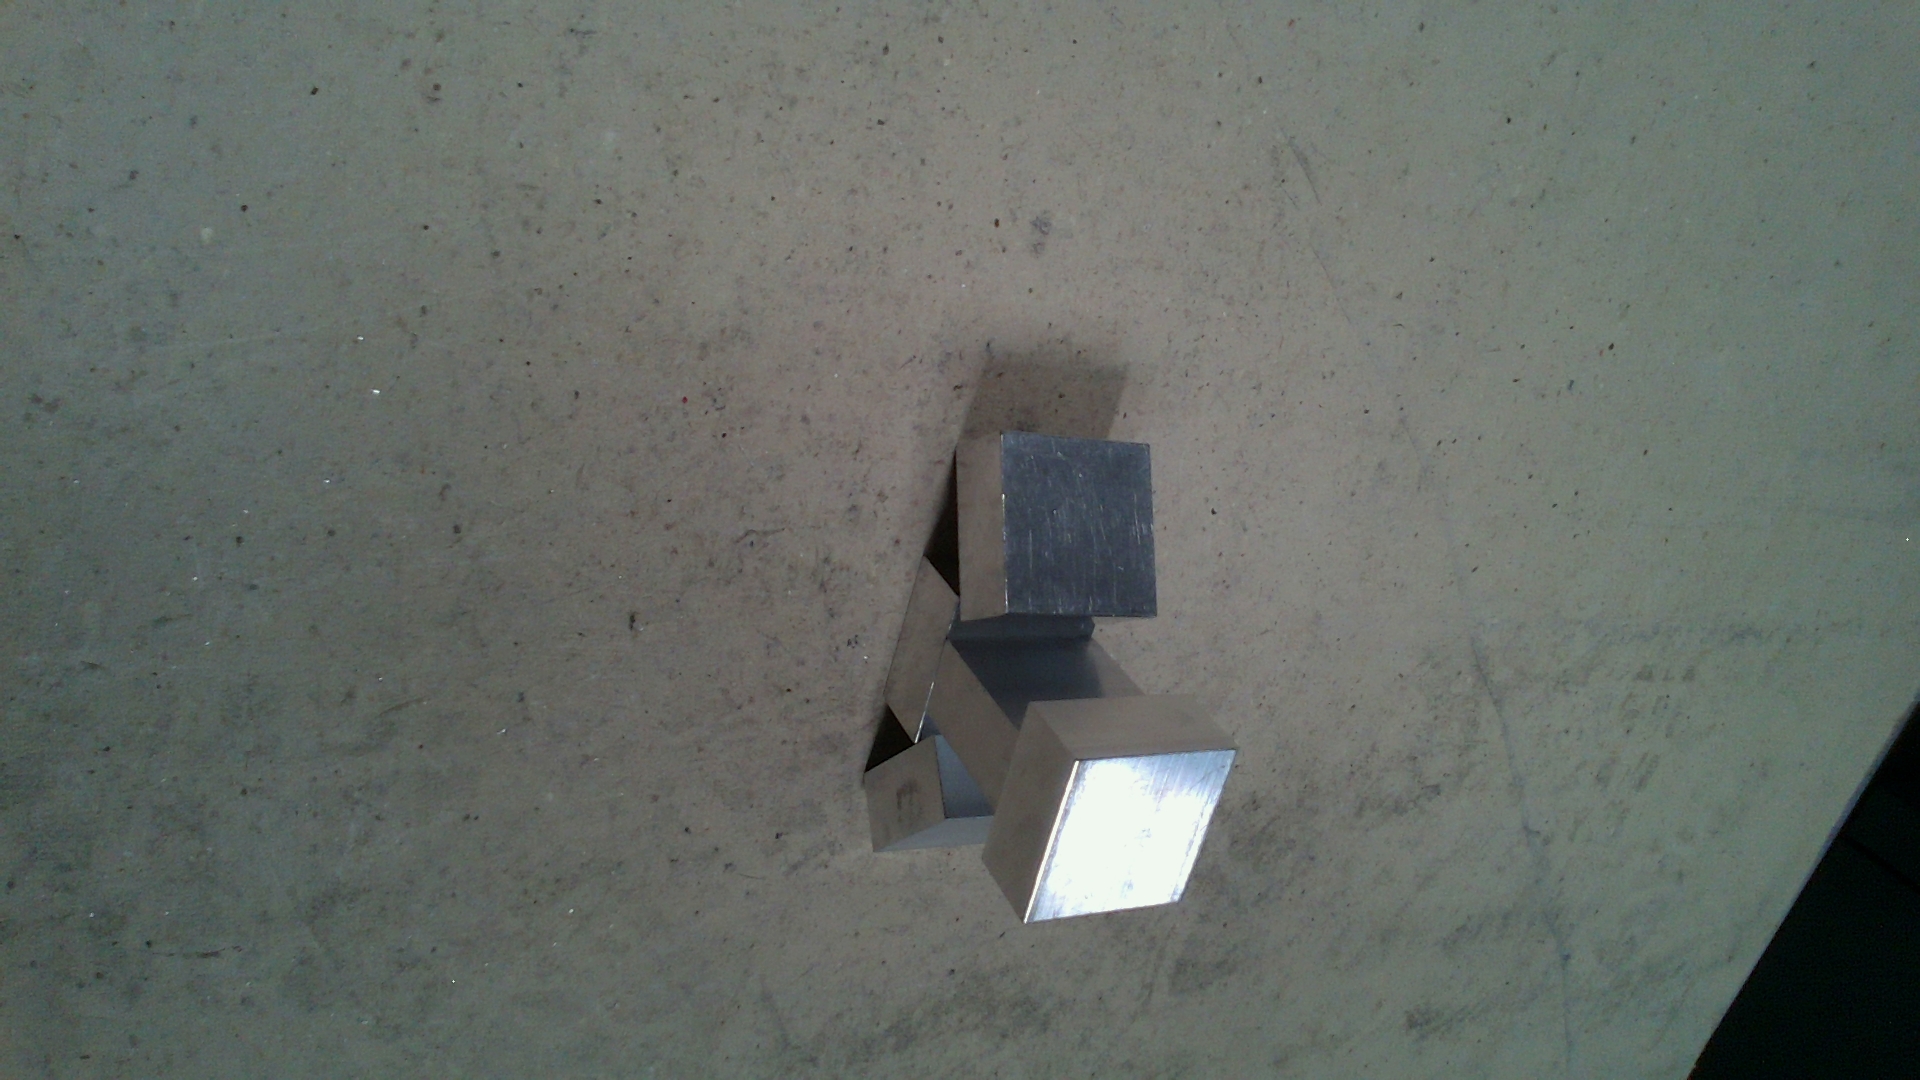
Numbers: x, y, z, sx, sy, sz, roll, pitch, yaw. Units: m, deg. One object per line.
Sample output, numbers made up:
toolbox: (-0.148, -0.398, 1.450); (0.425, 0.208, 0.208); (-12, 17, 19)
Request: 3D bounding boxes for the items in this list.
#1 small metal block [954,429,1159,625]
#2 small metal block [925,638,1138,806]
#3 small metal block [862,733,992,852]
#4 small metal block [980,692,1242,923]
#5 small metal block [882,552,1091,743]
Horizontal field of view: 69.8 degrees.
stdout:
small metal block: (0.027, -0.002, 0.387); (0.050, 0.025, 0.050); (3, 81, -29)
small metal block: (0.025, 0.052, 0.386); (0.050, 0.050, 0.025); (2, 117, -29)
small metal block: (0.004, 0.077, 0.423); (0.050, 0.025, 0.050); (2, 158, -29)
small metal block: (0.038, 0.068, 0.355); (0.050, 0.025, 0.050); (1, 118, -29)
small metal block: (0.009, 0.032, 0.415); (0.050, 0.025, 0.050); (2, 117, -29)
